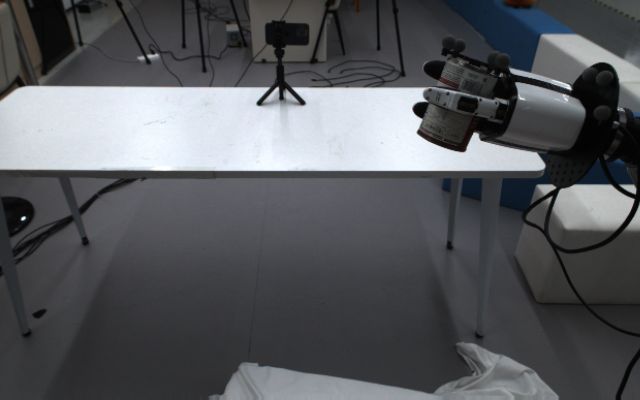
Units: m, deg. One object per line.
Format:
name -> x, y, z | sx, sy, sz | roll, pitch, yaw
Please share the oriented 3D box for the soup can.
soup can -> 0.175, -0.122, 0.615 | 0.067, 0.101, 0.067 | 17, 21, -7
